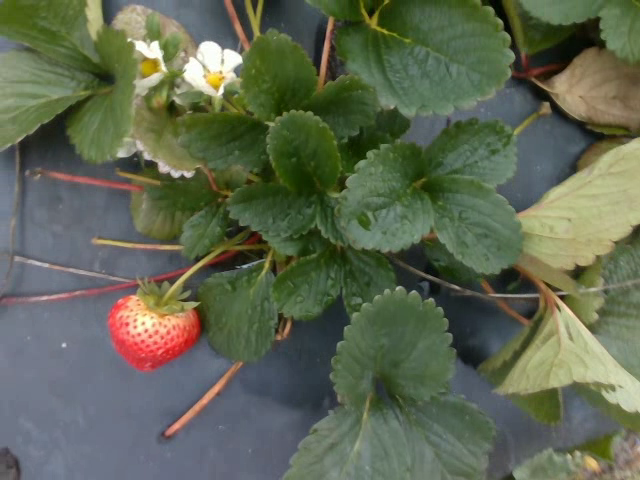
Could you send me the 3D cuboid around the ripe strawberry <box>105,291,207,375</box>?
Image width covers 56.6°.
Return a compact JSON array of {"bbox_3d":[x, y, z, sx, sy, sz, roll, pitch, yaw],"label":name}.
[{"bbox_3d":[-0.112,0.065,0.373,0.061,0.065,0.050,2,36,-20],"label":"ripe strawberry"}]
